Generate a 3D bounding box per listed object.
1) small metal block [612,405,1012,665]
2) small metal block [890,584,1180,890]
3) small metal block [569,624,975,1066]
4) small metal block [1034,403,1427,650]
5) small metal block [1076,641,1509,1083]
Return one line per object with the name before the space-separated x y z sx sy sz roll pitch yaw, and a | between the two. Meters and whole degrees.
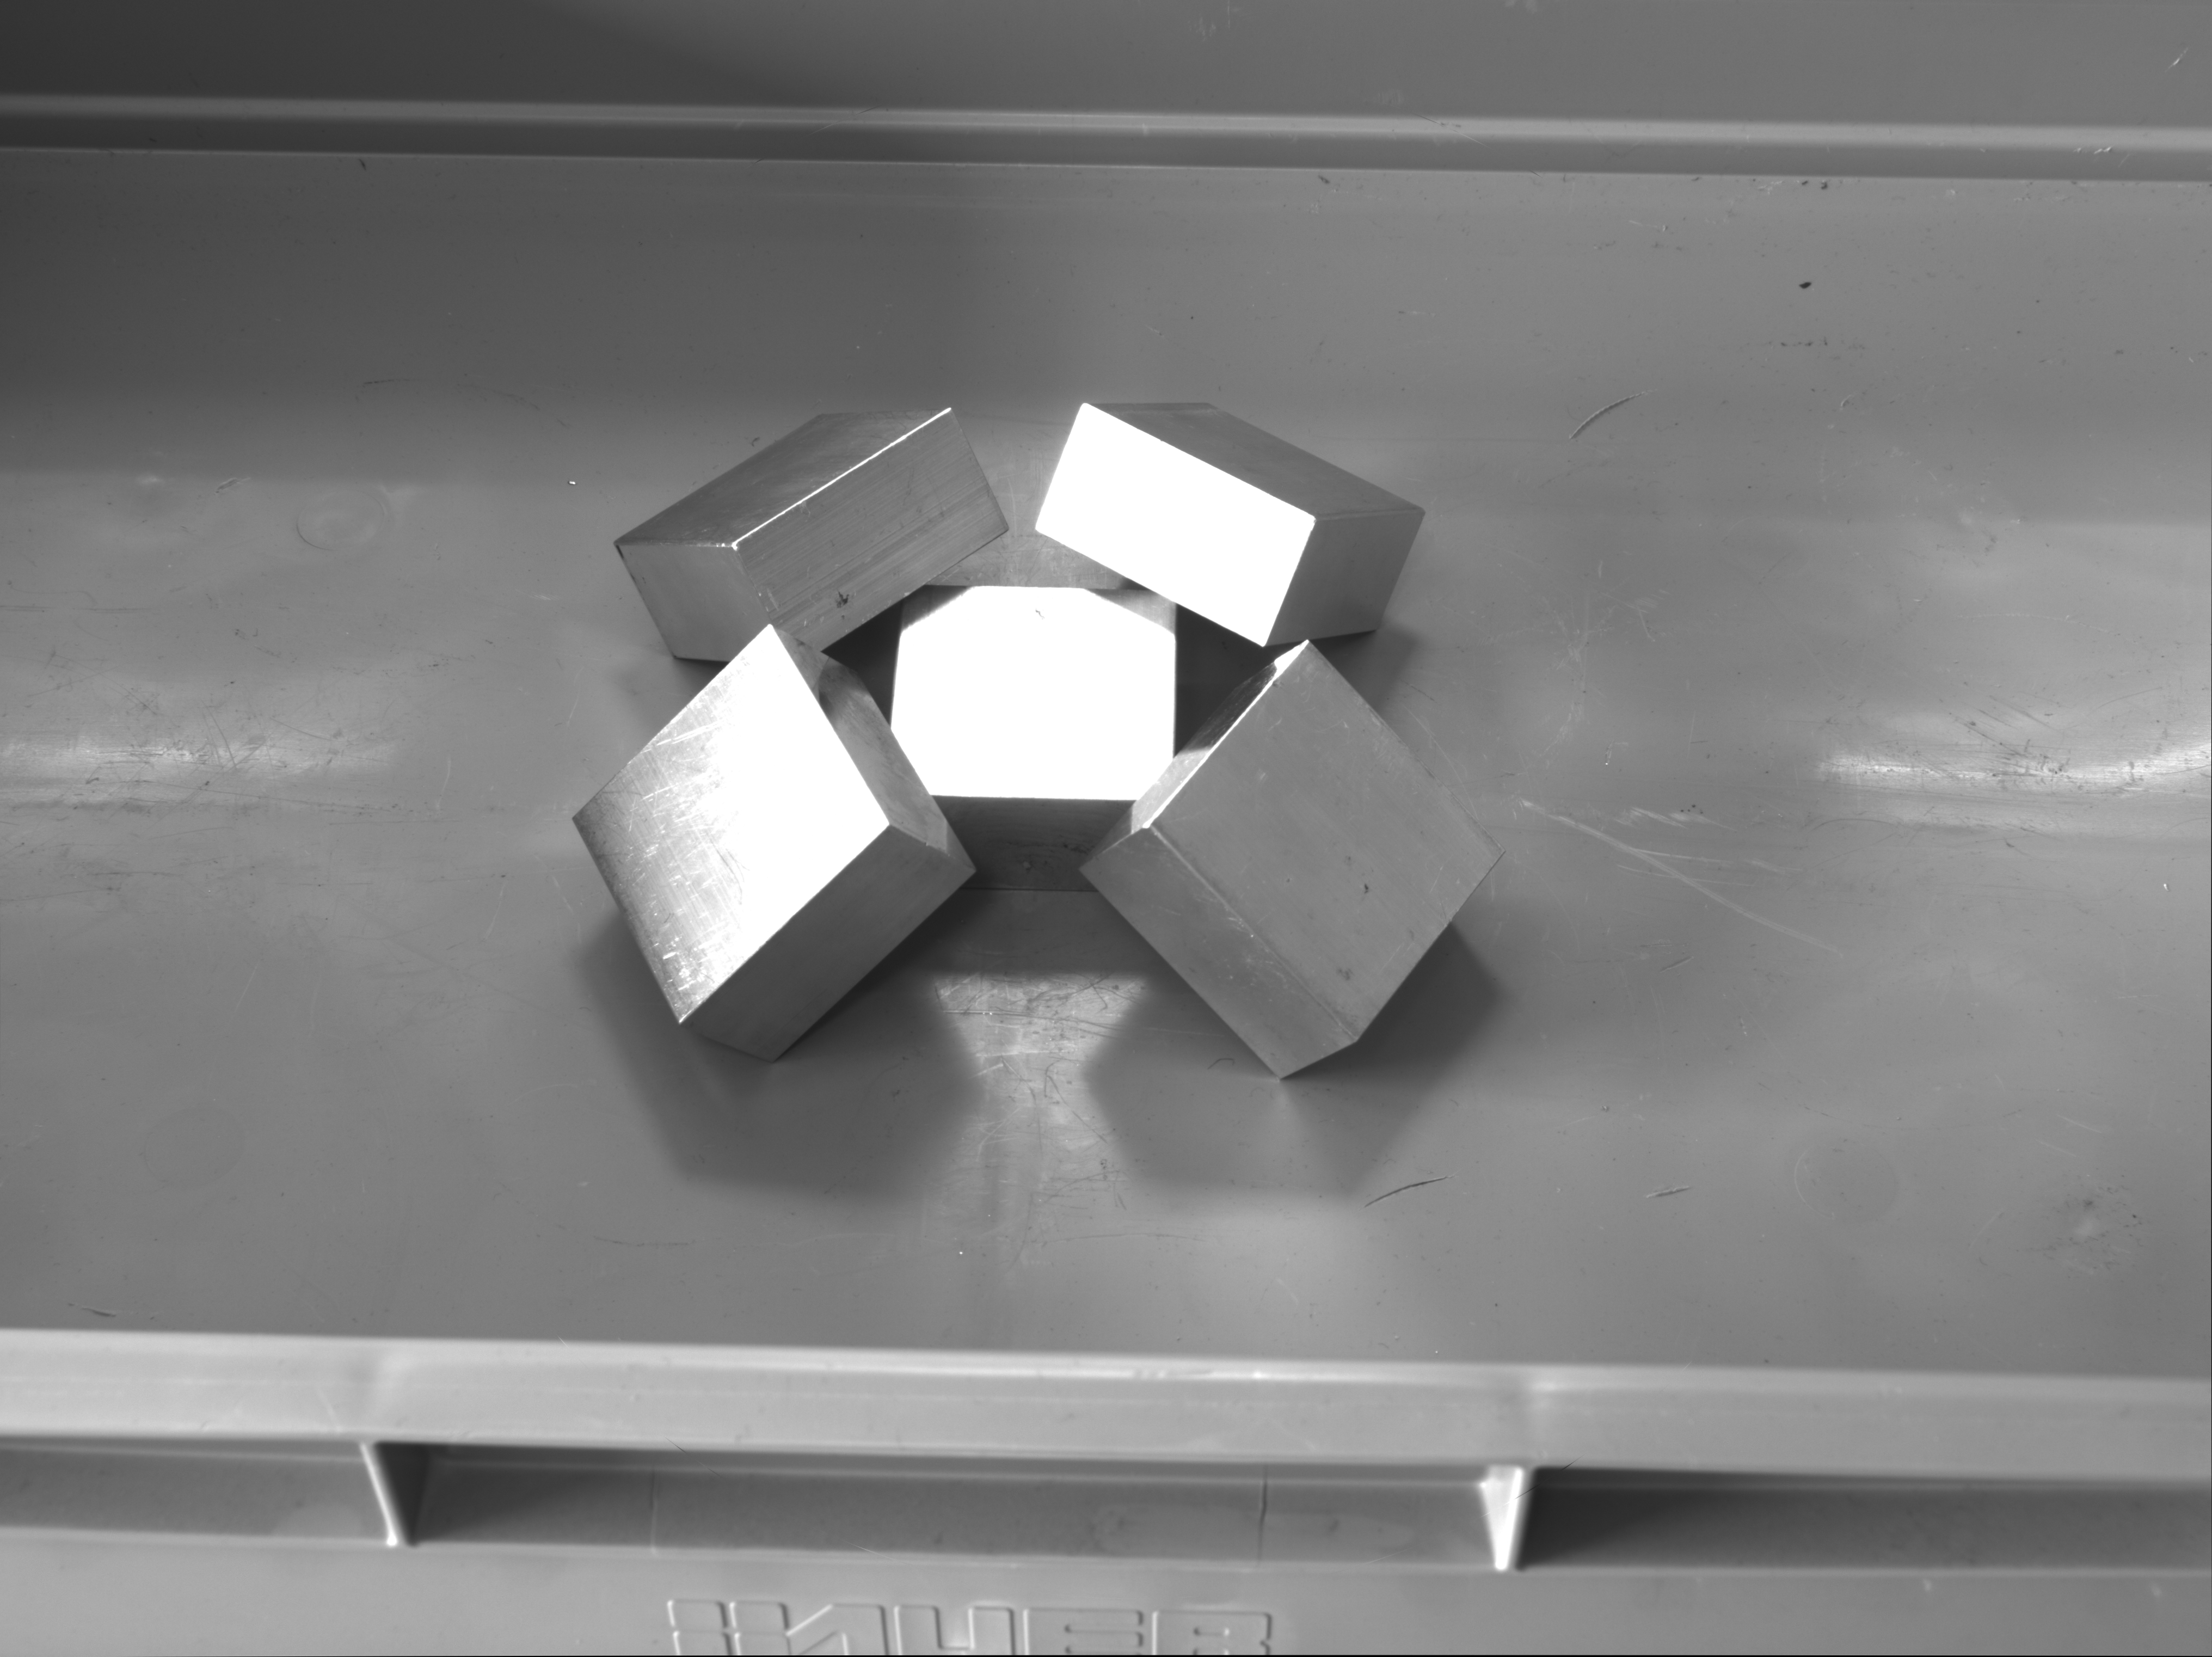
small metal block | -0.054 -0.053 0.668 0.050 0.025 0.050 -35 21 -25
small metal block | -0.012 -0.017 0.653 0.050 0.025 0.050 1 50 1
small metal block | -0.057 0.003 0.622 0.050 0.025 0.050 -43 53 14
small metal block | 0.023 -0.056 0.671 0.050 0.025 0.050 29 18 22
small metal block | 0.032 0.006 0.620 0.050 0.025 0.050 46 57 -8
